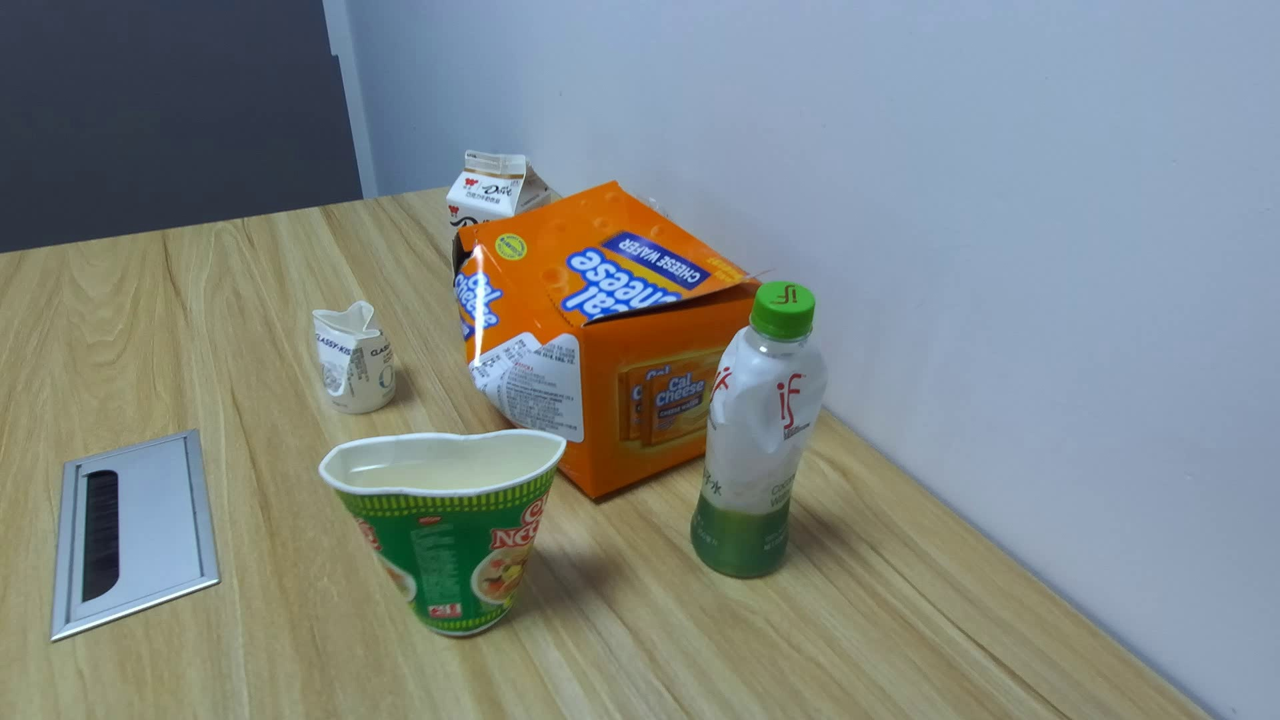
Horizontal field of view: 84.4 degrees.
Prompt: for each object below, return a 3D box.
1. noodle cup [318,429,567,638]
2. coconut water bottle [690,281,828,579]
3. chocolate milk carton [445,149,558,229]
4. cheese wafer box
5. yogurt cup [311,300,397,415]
[{"bbox_3d":[-0.104,0.092,0.394,0.115,0.111,0.070,10,36,10],"label":"noodle cup"},{"bbox_3d":[0.069,0.043,0.409,0.067,0.187,0.067,3,36,-2],"label":"coconut water bottle"},{"bbox_3d":[-0.131,-0.128,0.679,0.075,0.148,0.074,15,37,20],"label":"chocolate milk carton"},{"bbox_3d":[-0.040,-0.027,0.545,0.192,0.145,0.218,-19,41,-28],"label":"cheese wafer box"},{"bbox_3d":[-0.223,-0.001,0.557,0.055,0.072,0.054,-11,37,-23],"label":"yogurt cup"}]
